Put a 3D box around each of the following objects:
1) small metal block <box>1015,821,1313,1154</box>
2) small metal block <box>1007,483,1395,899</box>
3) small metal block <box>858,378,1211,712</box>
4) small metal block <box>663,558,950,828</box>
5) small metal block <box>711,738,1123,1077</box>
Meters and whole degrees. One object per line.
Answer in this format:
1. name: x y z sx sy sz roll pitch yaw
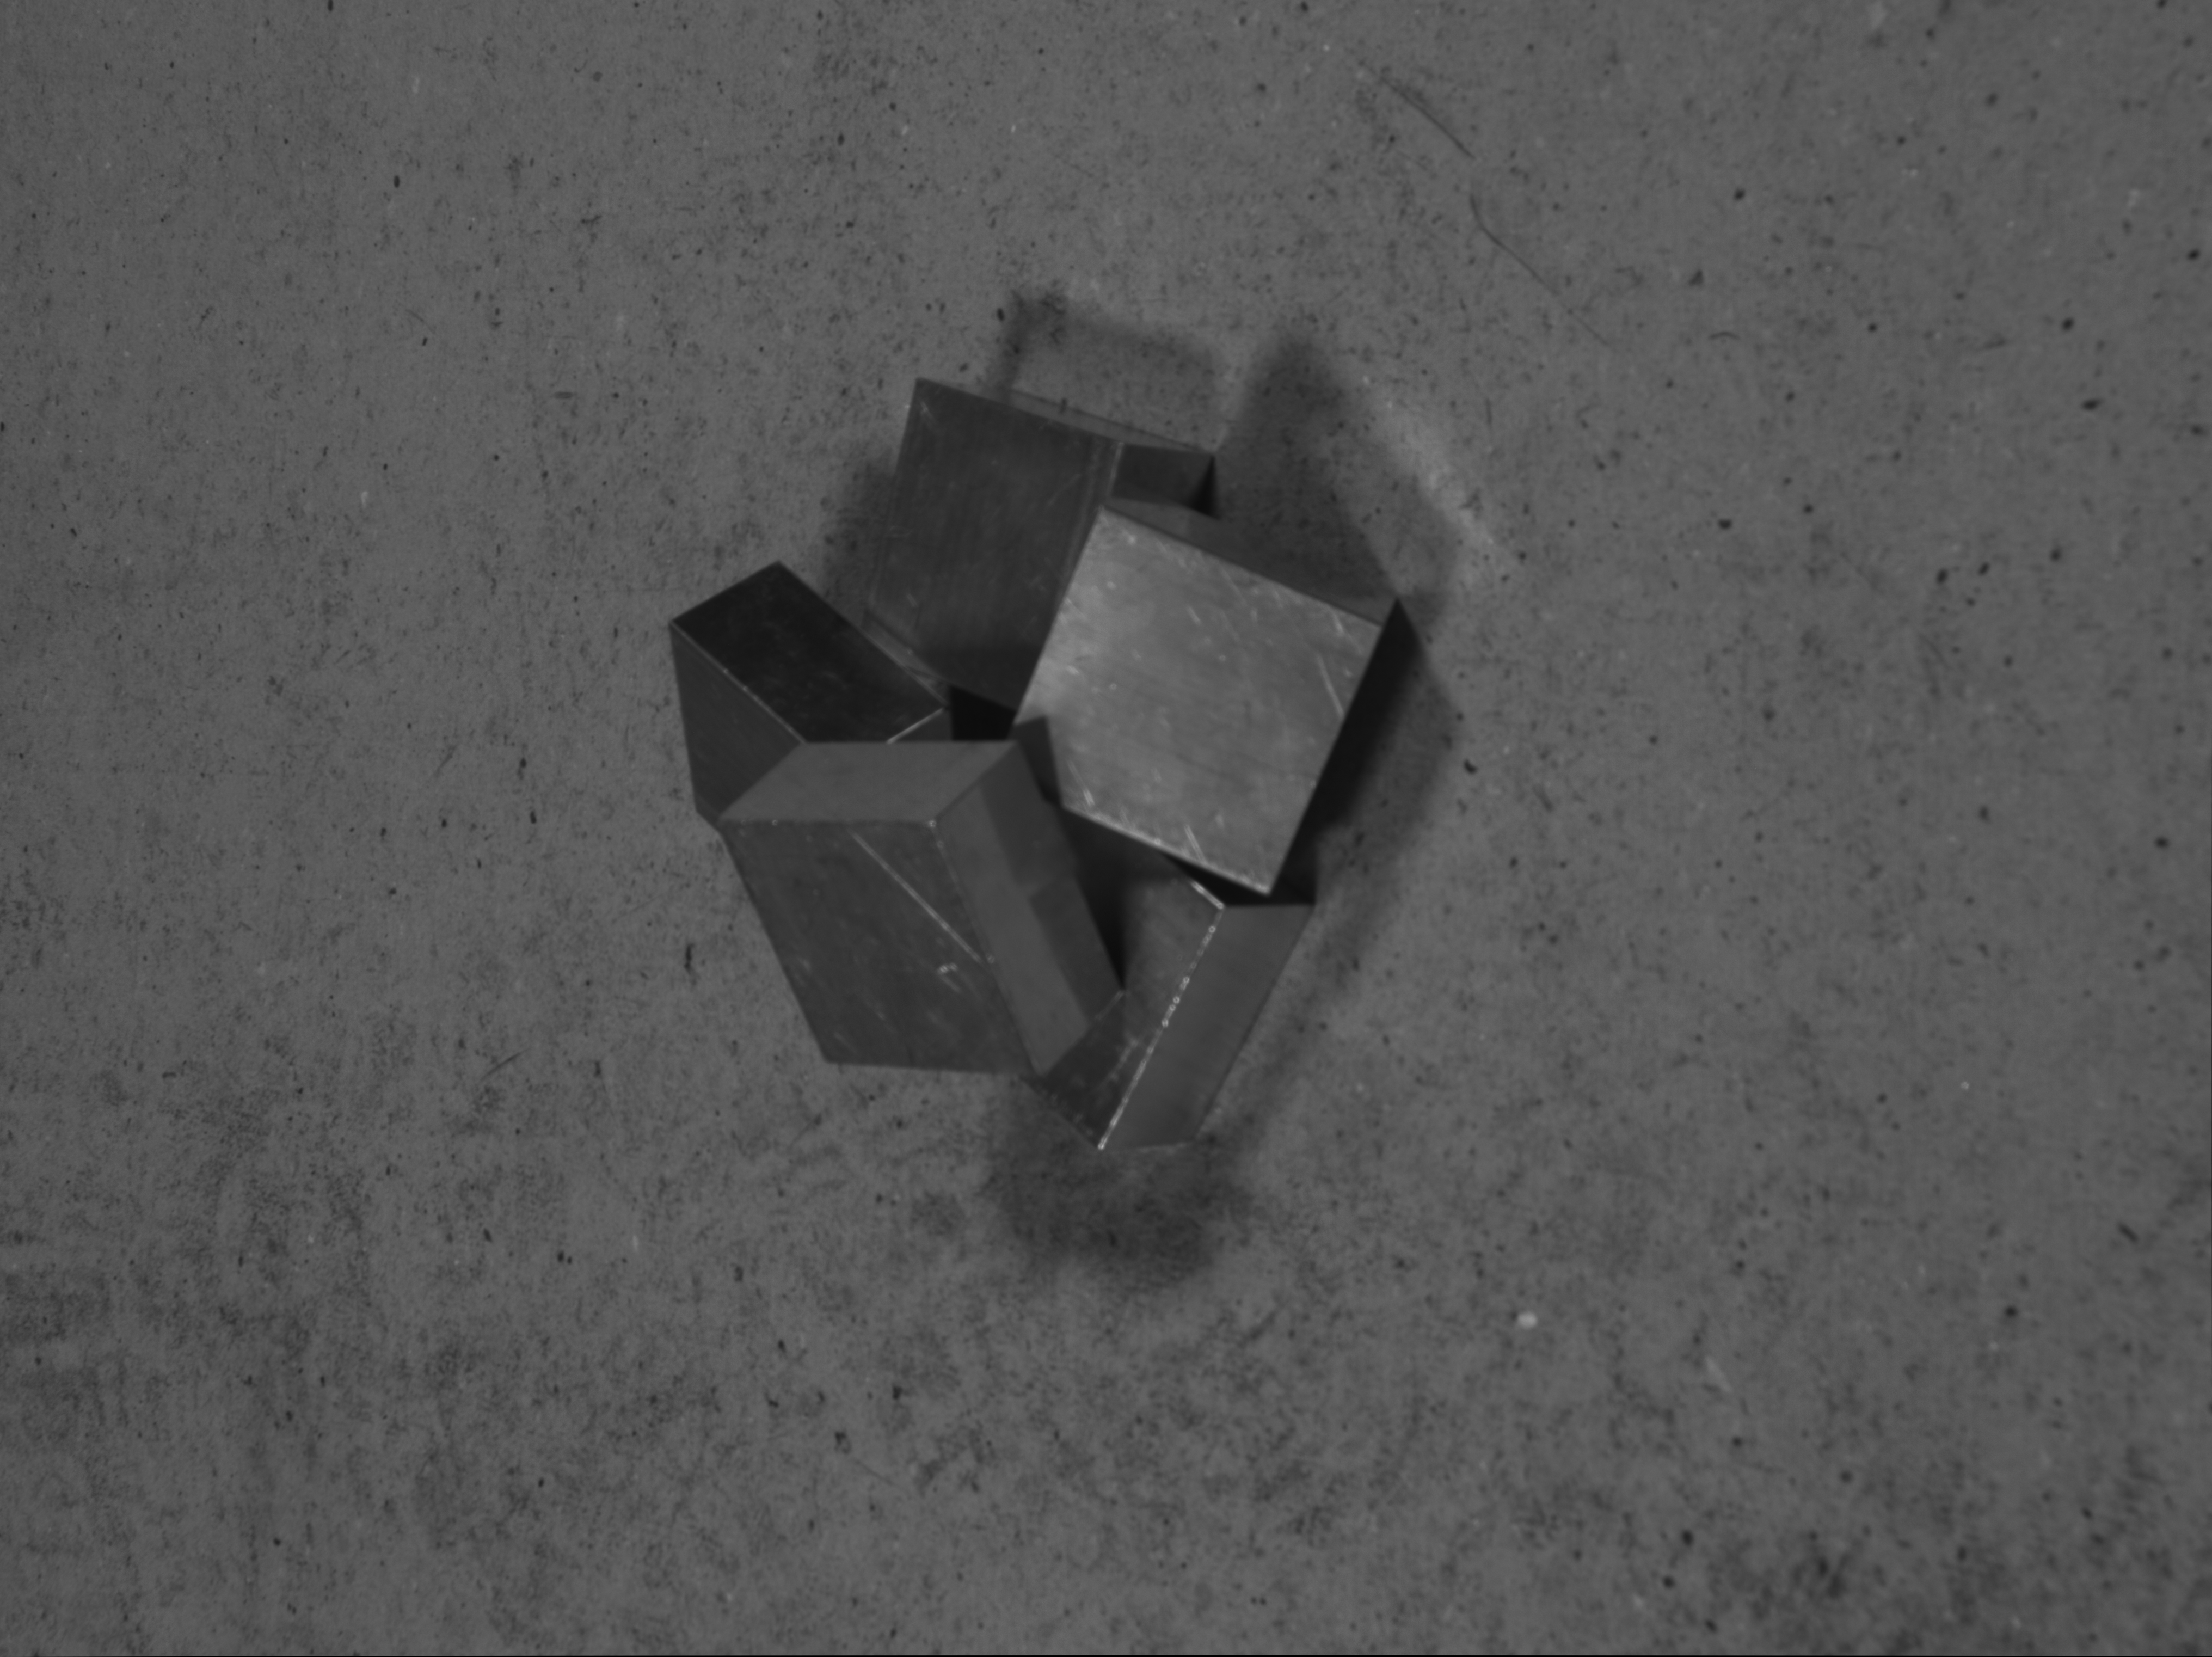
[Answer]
1. small metal block: 0.001 0.021 0.636 0.050 0.025 0.050 40 114 32
2. small metal block: 0.015 -0.023 0.610 0.050 0.025 0.050 23 107 2
3. small metal block: -0.014 -0.049 0.649 0.050 0.025 0.050 22 104 37
4. small metal block: -0.053 -0.012 0.665 0.050 0.025 0.050 40 150 31
5. small metal block: -0.032 0.013 0.615 0.050 0.025 0.050 0 123 39
